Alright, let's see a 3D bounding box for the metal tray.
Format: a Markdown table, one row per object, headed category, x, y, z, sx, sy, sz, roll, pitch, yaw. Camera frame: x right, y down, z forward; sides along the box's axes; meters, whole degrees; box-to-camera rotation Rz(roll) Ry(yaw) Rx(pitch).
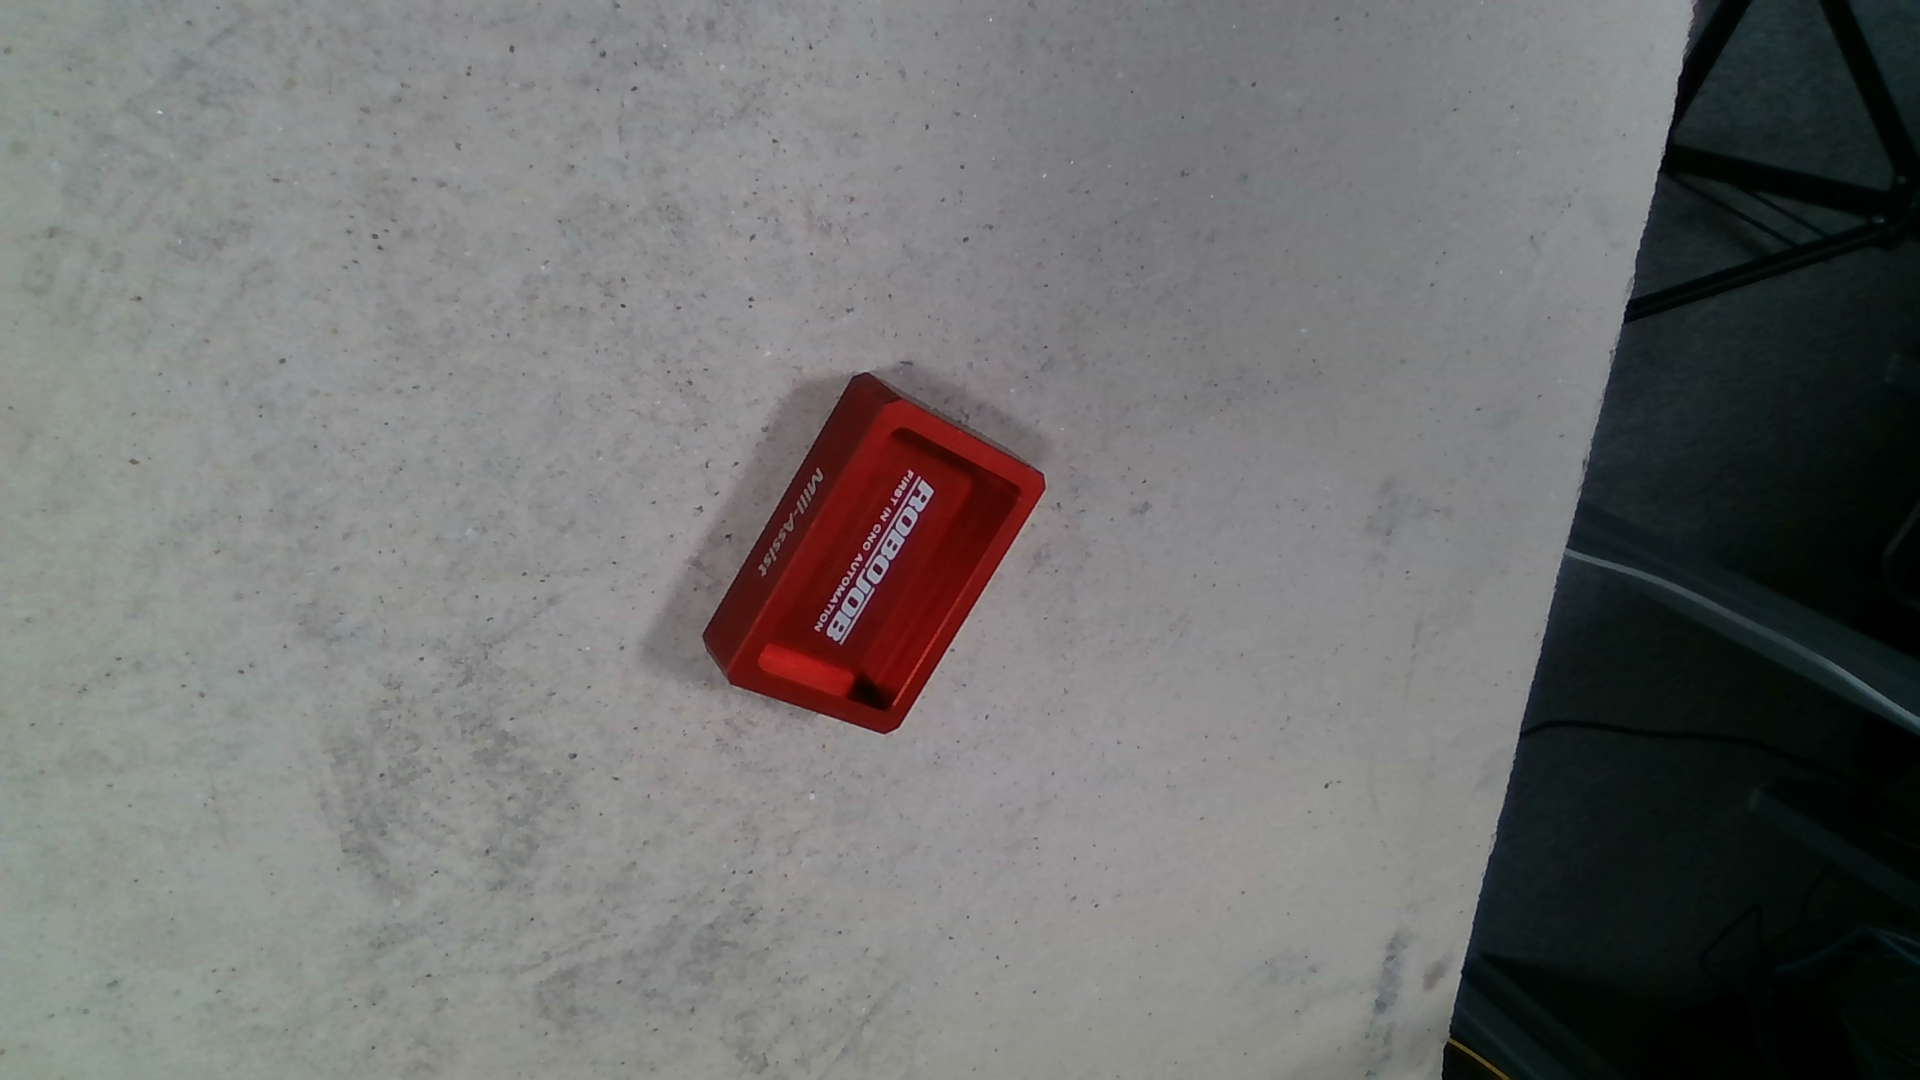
| category | x | y | z | sx | sy | sz | roll | pitch | yaw |
| --- | --- | --- | --- | --- | --- | --- | --- | --- | --- |
| metal tray | -0.034 | 0.008 | 0.561 | 0.090 | 0.030 | 0.130 | 25 | 100 | -38 |
